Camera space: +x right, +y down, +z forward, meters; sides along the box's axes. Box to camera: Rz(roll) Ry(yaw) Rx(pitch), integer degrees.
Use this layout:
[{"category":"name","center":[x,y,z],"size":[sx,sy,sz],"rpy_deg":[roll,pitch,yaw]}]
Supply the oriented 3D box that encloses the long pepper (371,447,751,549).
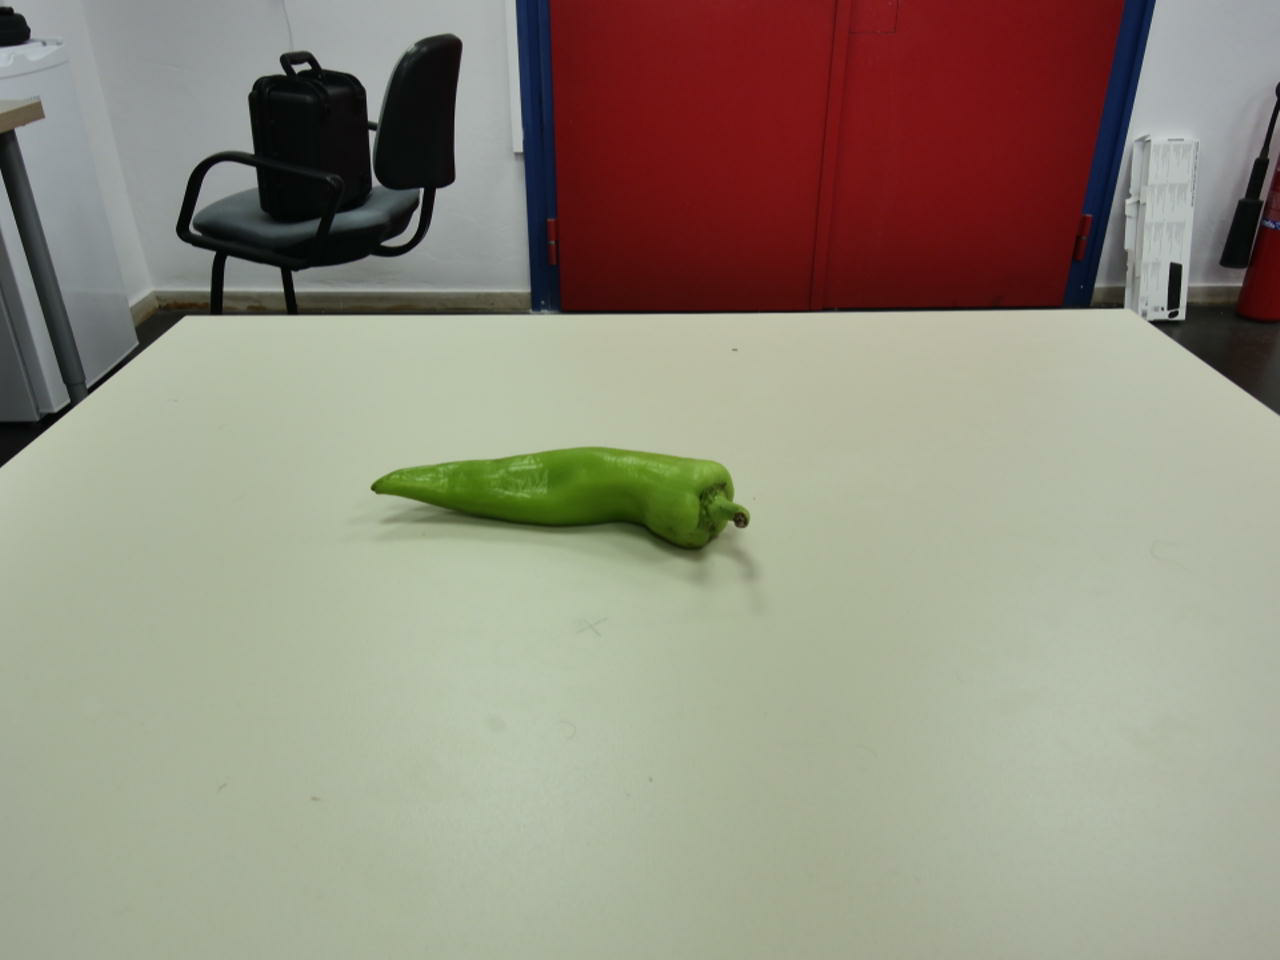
[{"category":"long pepper","center":[-0.037,0.004,0.530],"size":[0.205,0.045,0.065],"rpy_deg":[8,27,14]}]
